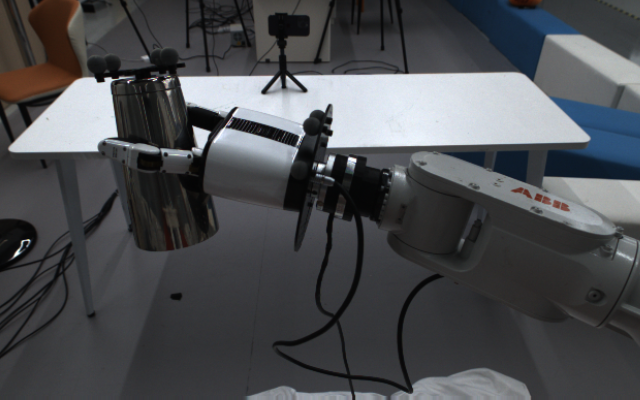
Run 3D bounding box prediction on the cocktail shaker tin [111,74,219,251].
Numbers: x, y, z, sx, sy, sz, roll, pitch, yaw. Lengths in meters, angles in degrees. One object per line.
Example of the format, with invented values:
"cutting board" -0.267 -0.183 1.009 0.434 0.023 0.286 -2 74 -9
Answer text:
"cocktail shaker tin" -0.167 -0.041 0.513 0.093 0.170 0.093 -6 19 2
